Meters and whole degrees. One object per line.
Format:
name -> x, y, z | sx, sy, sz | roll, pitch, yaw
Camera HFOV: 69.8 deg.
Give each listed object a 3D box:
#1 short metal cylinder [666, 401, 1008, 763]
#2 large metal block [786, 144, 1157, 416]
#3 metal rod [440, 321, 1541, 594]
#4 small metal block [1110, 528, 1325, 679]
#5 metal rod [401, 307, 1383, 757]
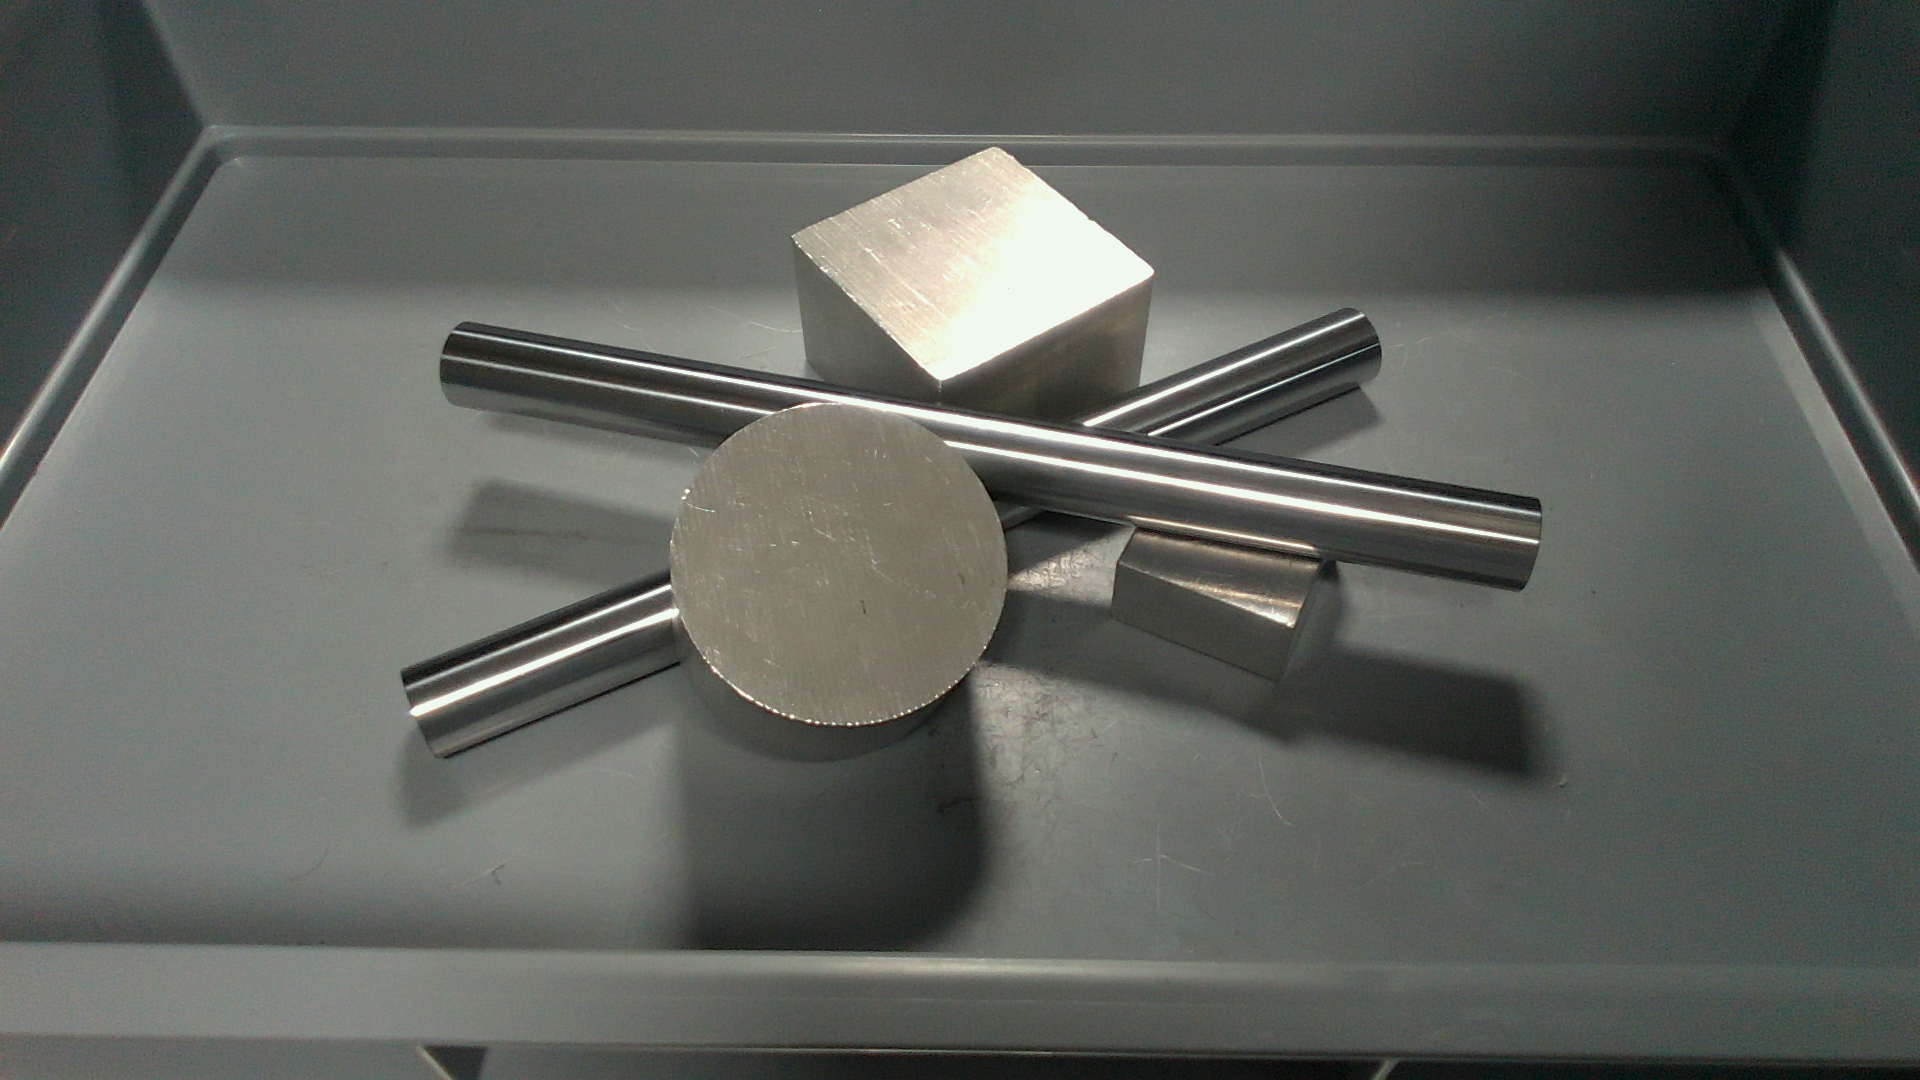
short metal cylinder -> -0.033, 0.012, 0.345 | 0.080, 0.050, 0.080 | 4, 71, -11
large metal block -> 0.003, -0.070, 0.432 | 0.080, 0.050, 0.080 | -29, 56, -22
metal rod -> 0.001, -0.025, 0.378 | 0.300, 0.025, 0.025 | 10, 51, 9
small metal block -> 0.076, 0.004, 0.385 | 0.050, 0.025, 0.050 | 21, 53, 17
metal rod -> -0.005, -0.009, 0.397 | 0.301, 0.025, 0.025 | -22, 53, -18
